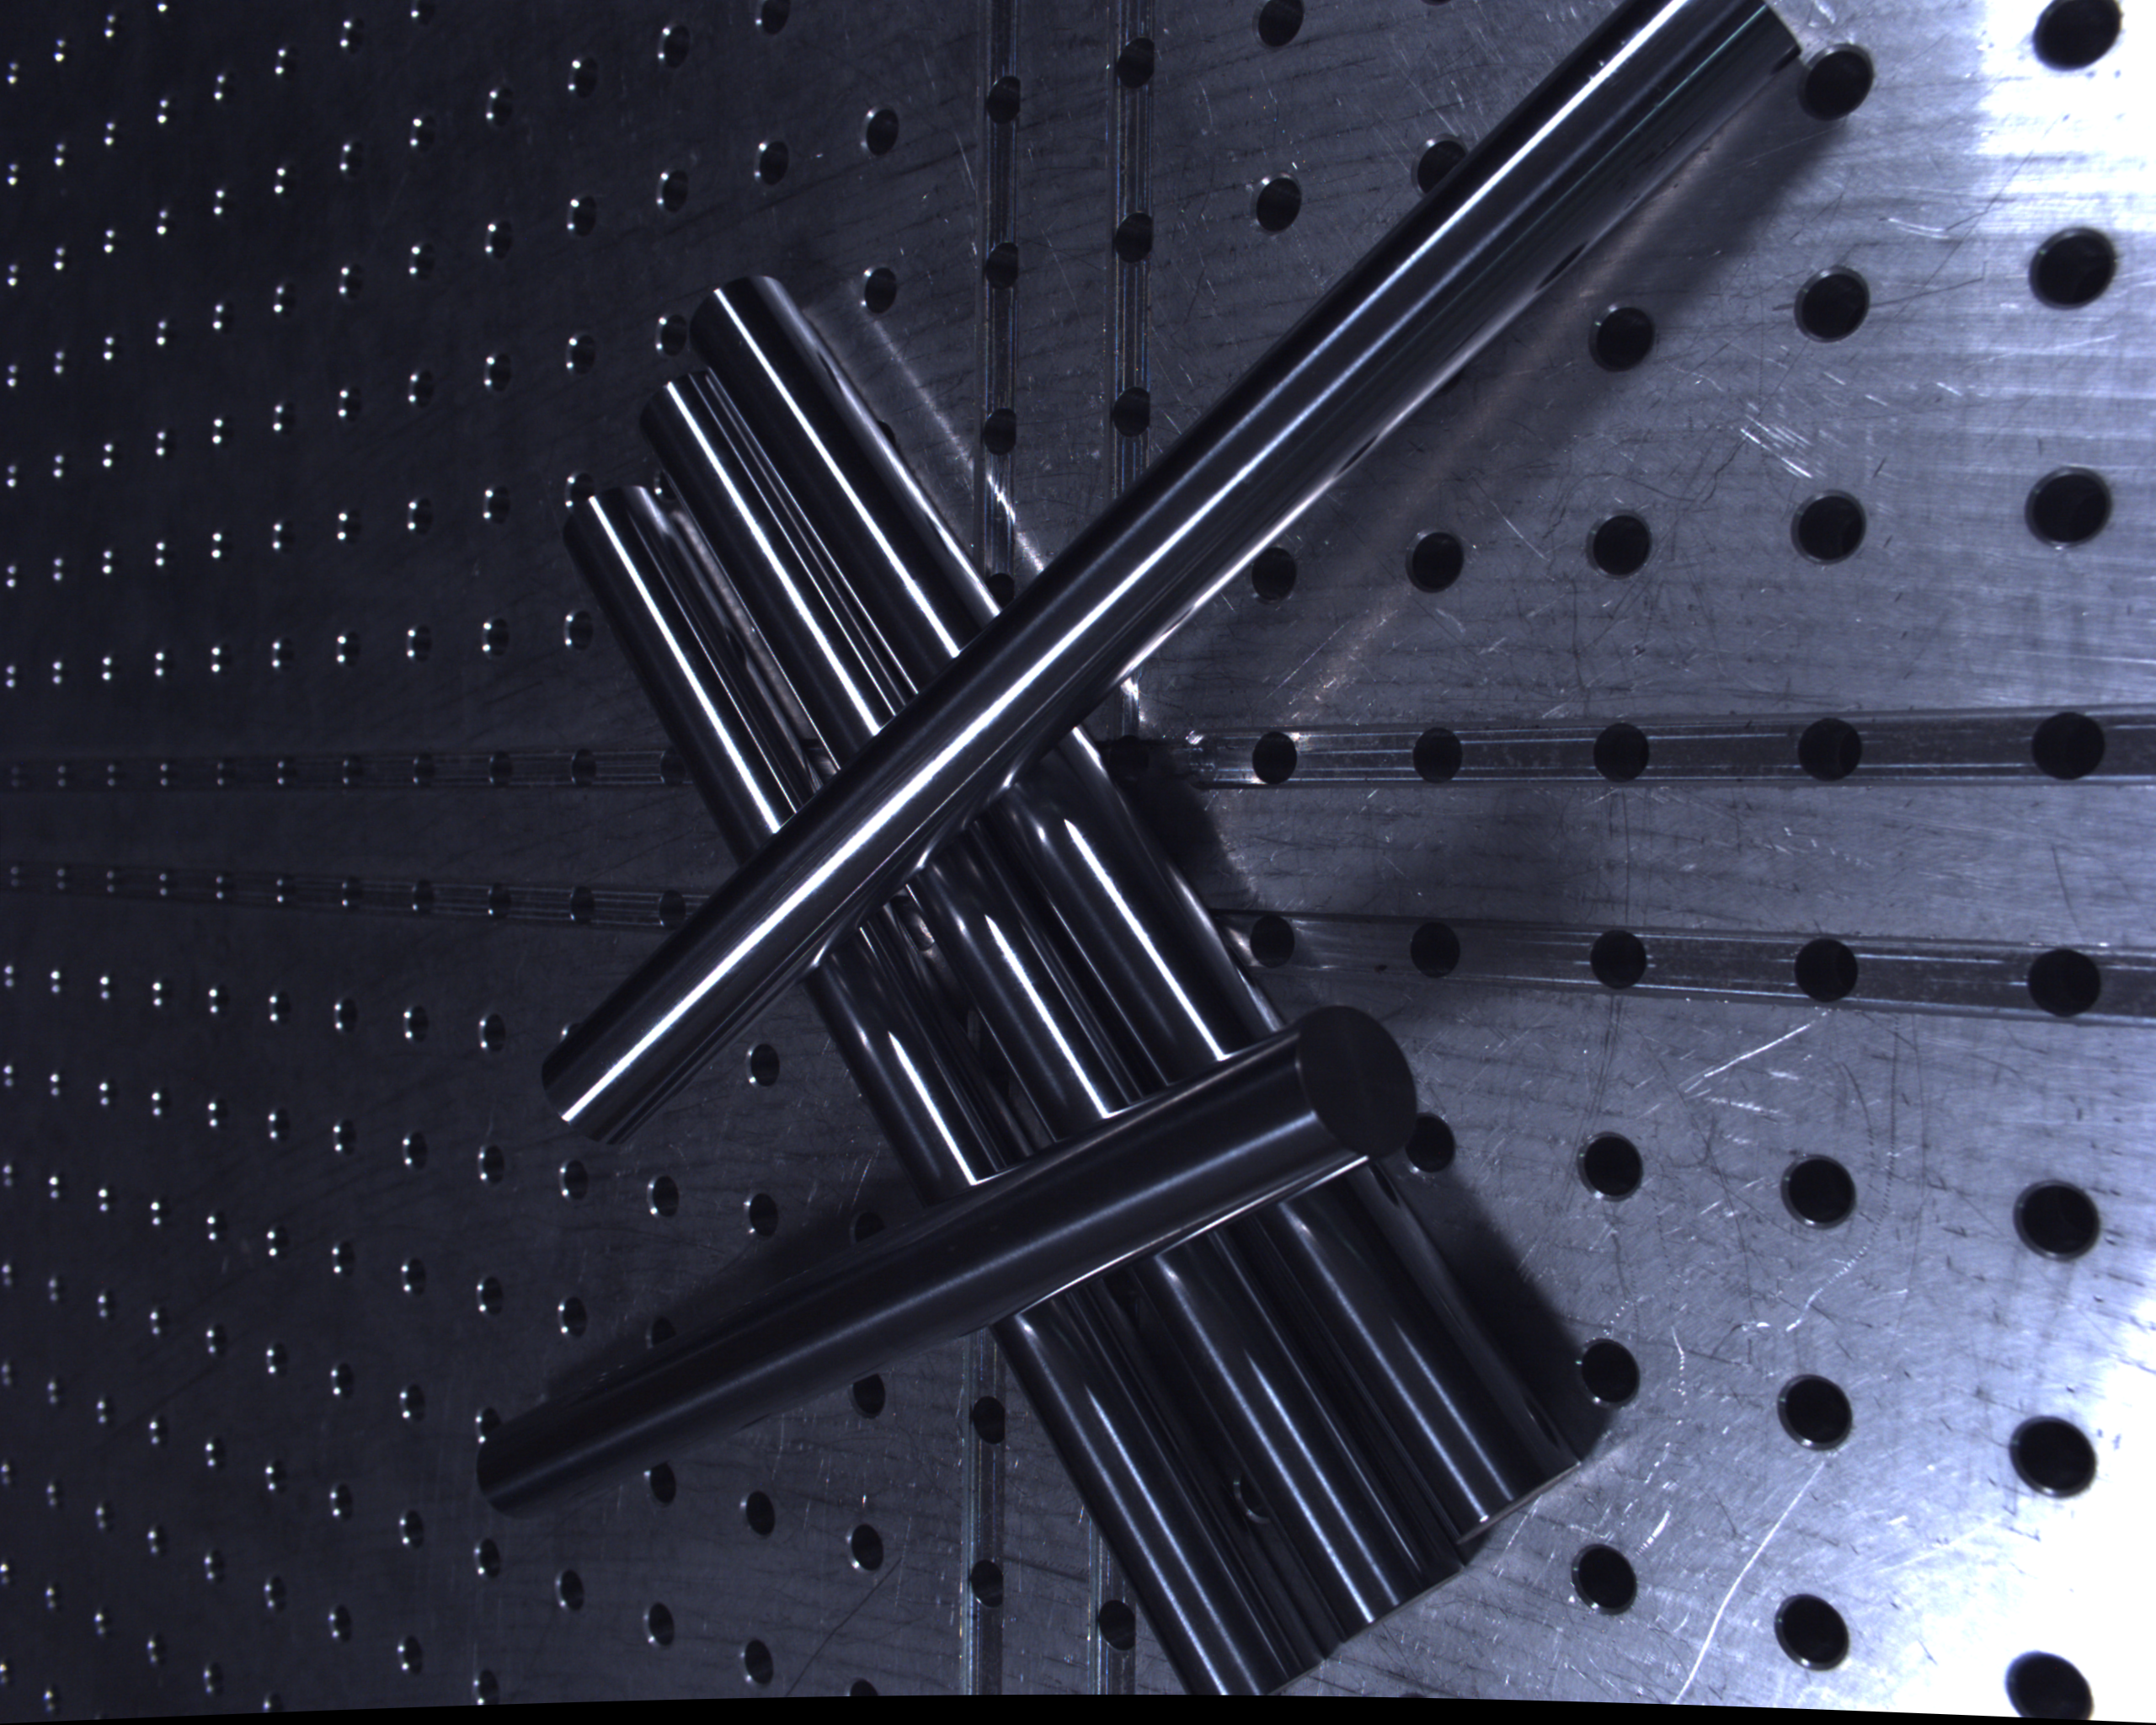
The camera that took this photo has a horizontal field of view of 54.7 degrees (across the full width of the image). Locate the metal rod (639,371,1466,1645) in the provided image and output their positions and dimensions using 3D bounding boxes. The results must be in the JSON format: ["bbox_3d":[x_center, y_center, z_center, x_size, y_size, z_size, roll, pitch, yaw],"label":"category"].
[{"bbox_3d":[-0.016,0.012,0.421,0.025,0.025,0.299,-46,63,30],"label":"metal rod"}]

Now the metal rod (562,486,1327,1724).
[{"bbox_3d":[-0.038,0.035,0.439,0.025,0.025,0.299,-46,63,30],"label":"metal rod"}]

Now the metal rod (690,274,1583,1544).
[{"bbox_3d":[-0.001,-0.008,0.408,0.025,0.025,0.299,-47,62,29],"label":"metal rod"}]

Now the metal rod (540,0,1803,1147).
[{"bbox_3d":[0.001,-0.043,0.380,0.299,0.025,0.025,-42,65,23],"label":"metal rod"}]

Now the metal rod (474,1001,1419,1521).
[{"bbox_3d":[-0.048,0.092,0.420,0.299,0.025,0.025,-33,70,43],"label":"metal rod"}]
